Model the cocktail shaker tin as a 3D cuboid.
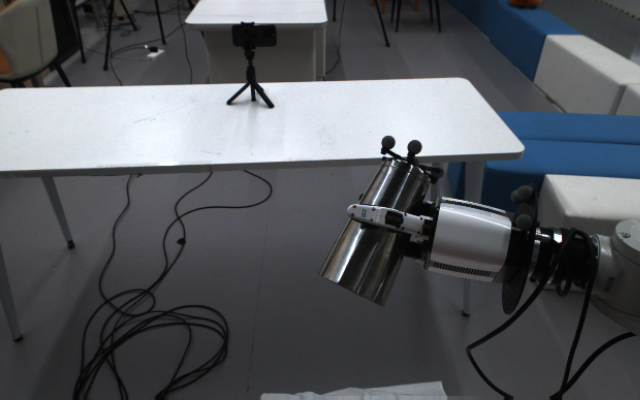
[{"bbox_3d":[0.077,0.034,0.611,0.093,0.093,0.170,21,81,25],"label":"cocktail shaker tin"}]
